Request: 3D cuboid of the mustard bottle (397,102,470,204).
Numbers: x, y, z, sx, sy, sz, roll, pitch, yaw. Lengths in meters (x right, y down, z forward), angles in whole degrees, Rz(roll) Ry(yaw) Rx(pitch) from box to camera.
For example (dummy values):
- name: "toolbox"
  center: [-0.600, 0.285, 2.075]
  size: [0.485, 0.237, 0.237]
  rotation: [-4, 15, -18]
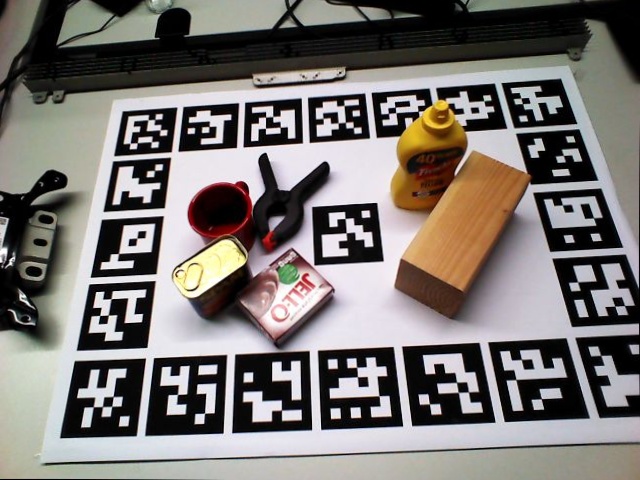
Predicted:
- name: "mustard bottle"
  center: [0.159, -0.121, 0.707]
  size: [0.096, 0.192, 0.058]
  rotation: [-9, 62, 1]

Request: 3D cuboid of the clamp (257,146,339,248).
- name: "clamp"
  center: [-0.049, -0.066, 0.790]
  size: [0.122, 0.037, 0.164]
  rotation: [14, 66, 10]

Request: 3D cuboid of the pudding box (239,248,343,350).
- name: "pudding box"
  center: [-0.038, 0.080, 0.706]
  size: [0.113, 0.039, 0.090]
  rotation: [-40, 67, -17]

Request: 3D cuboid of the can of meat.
- name: "can of meat"
  center: [-0.139, 0.055, 0.697]
  size: [0.101, 0.084, 0.058]
  rotation: [-31, 65, -12]

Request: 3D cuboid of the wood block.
- name: "wood block"
  center: [0.208, -0.007, 0.705]
  size: [0.090, 0.091, 0.205]
  rotation: [30, 66, 20]

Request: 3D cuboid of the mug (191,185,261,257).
- name: "mug"
  center: [-0.130, -0.027, 0.771]
  size: [0.093, 0.082, 0.116]
  rotation: [16, 66, 13]
